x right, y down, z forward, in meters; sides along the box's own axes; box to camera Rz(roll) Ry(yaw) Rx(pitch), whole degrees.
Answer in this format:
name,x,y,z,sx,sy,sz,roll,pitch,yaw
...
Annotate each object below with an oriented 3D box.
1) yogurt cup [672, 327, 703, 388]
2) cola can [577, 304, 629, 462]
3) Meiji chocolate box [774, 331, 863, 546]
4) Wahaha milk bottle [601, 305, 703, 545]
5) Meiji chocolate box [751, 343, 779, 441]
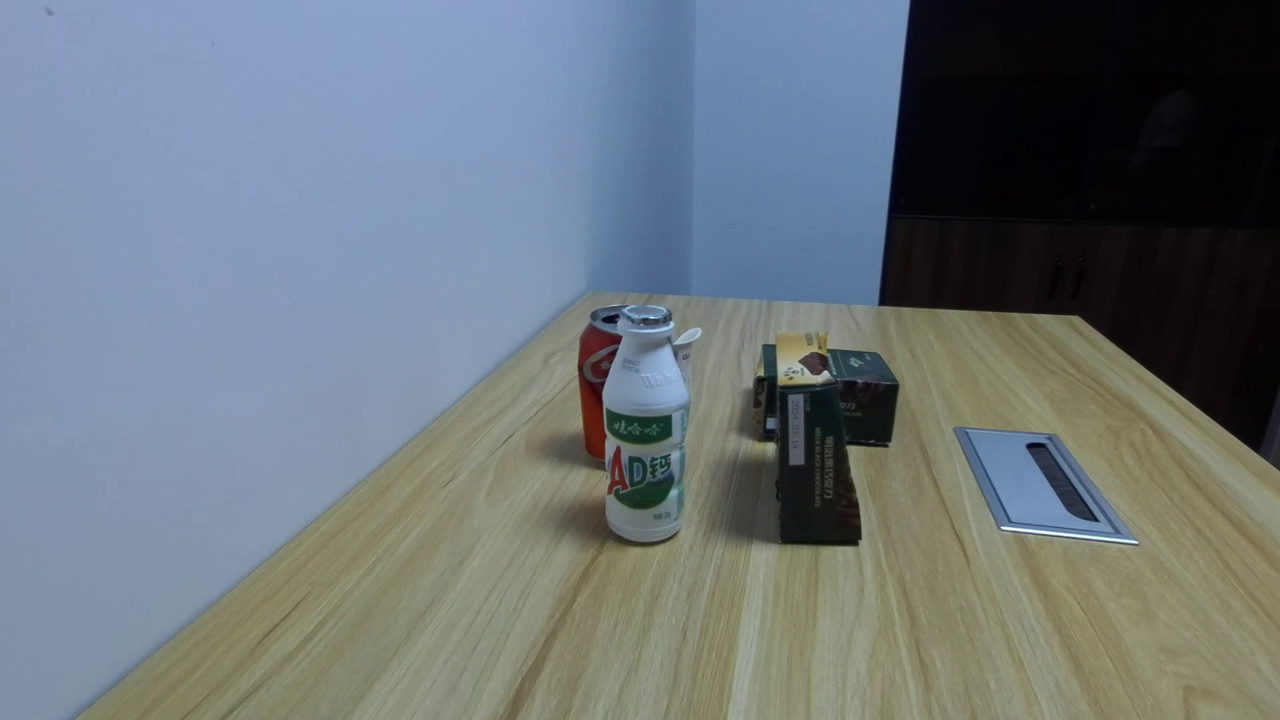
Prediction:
name,x,y,z,sx,sy,sz,roll,pitch,yaw
yogurt cup,0.022,0.005,0.661,0.067,0.070,0.067,4,24,-2
cola can,-0.005,0.017,0.530,0.072,0.117,0.065,2,23,4
Meiji chocolate box,0.114,0.047,0.476,0.051,0.117,0.117,-5,18,10
Wahaha milk bottle,0.004,0.040,0.441,0.056,0.147,0.056,-1,19,1
Meiji chocolate box,0.159,0.027,0.619,0.122,0.058,0.116,3,17,7
